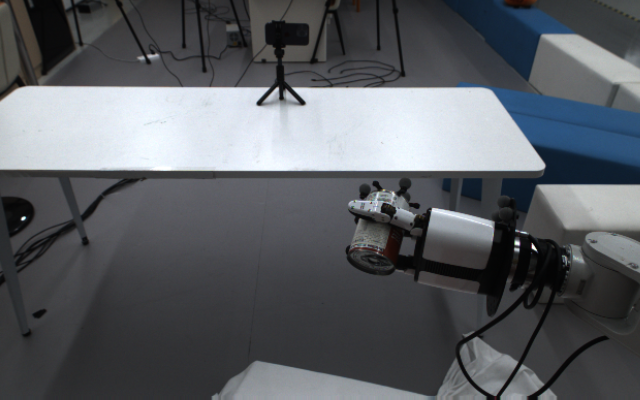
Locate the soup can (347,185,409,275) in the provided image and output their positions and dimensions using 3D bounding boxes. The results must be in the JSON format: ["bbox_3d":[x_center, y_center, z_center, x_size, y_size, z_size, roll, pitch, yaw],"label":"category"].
[{"bbox_3d":[0.084,0.043,0.677,0.067,0.067,0.101,12,59,14],"label":"soup can"}]
